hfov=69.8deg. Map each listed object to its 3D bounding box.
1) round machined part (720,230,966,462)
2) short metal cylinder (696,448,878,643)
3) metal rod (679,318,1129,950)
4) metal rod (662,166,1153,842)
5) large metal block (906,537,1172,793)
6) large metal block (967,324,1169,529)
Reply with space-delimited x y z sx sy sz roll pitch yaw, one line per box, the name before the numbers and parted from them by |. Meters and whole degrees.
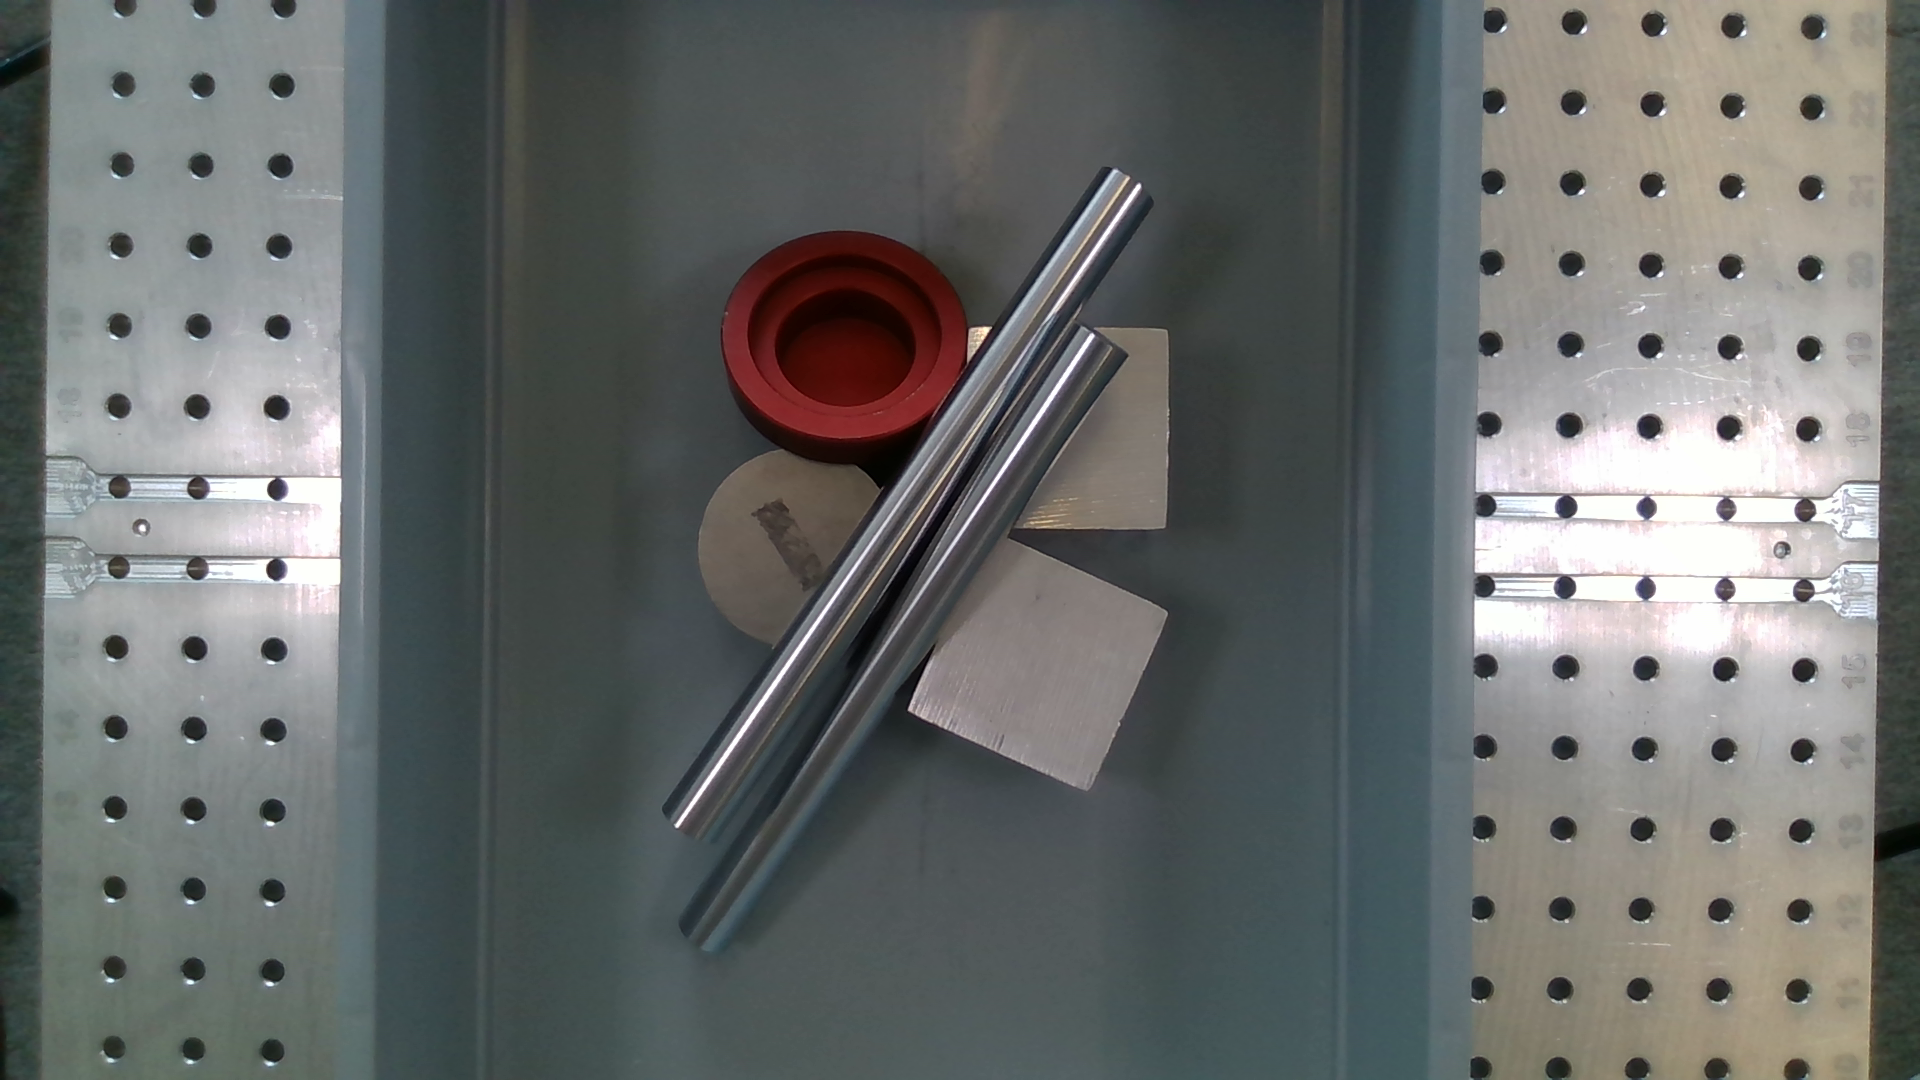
round machined part | -0.047 -0.075 0.566 0.098 0.042 0.098 1 67 -3
short metal cylinder | -0.065 0.003 0.573 0.080 0.050 0.080 0 90 0
metal rod | -0.028 0.045 0.549 0.025 0.025 0.300 34 105 0
metal rod | -0.021 -0.013 0.535 0.025 0.025 0.300 35 91 0
large metal block | 0.031 0.048 0.573 0.080 0.050 0.080 24 90 0
large metal block | 0.042 -0.045 0.570 0.080 0.050 0.080 1 90 0
